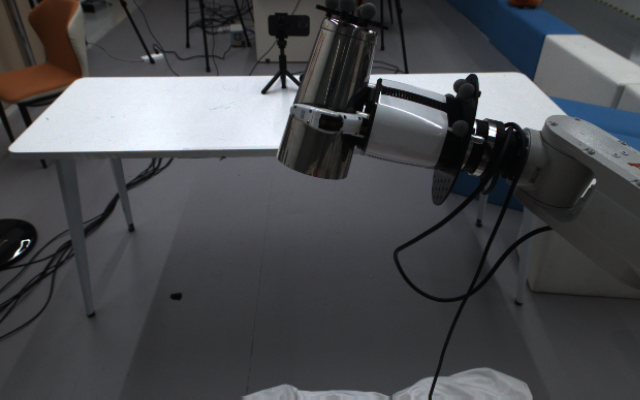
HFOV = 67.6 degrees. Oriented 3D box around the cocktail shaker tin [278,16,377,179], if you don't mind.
[{"bbox_3d":[0.014,-0.121,0.576,0.093,0.170,0.093,15,20,-5],"label":"cocktail shaker tin"}]
